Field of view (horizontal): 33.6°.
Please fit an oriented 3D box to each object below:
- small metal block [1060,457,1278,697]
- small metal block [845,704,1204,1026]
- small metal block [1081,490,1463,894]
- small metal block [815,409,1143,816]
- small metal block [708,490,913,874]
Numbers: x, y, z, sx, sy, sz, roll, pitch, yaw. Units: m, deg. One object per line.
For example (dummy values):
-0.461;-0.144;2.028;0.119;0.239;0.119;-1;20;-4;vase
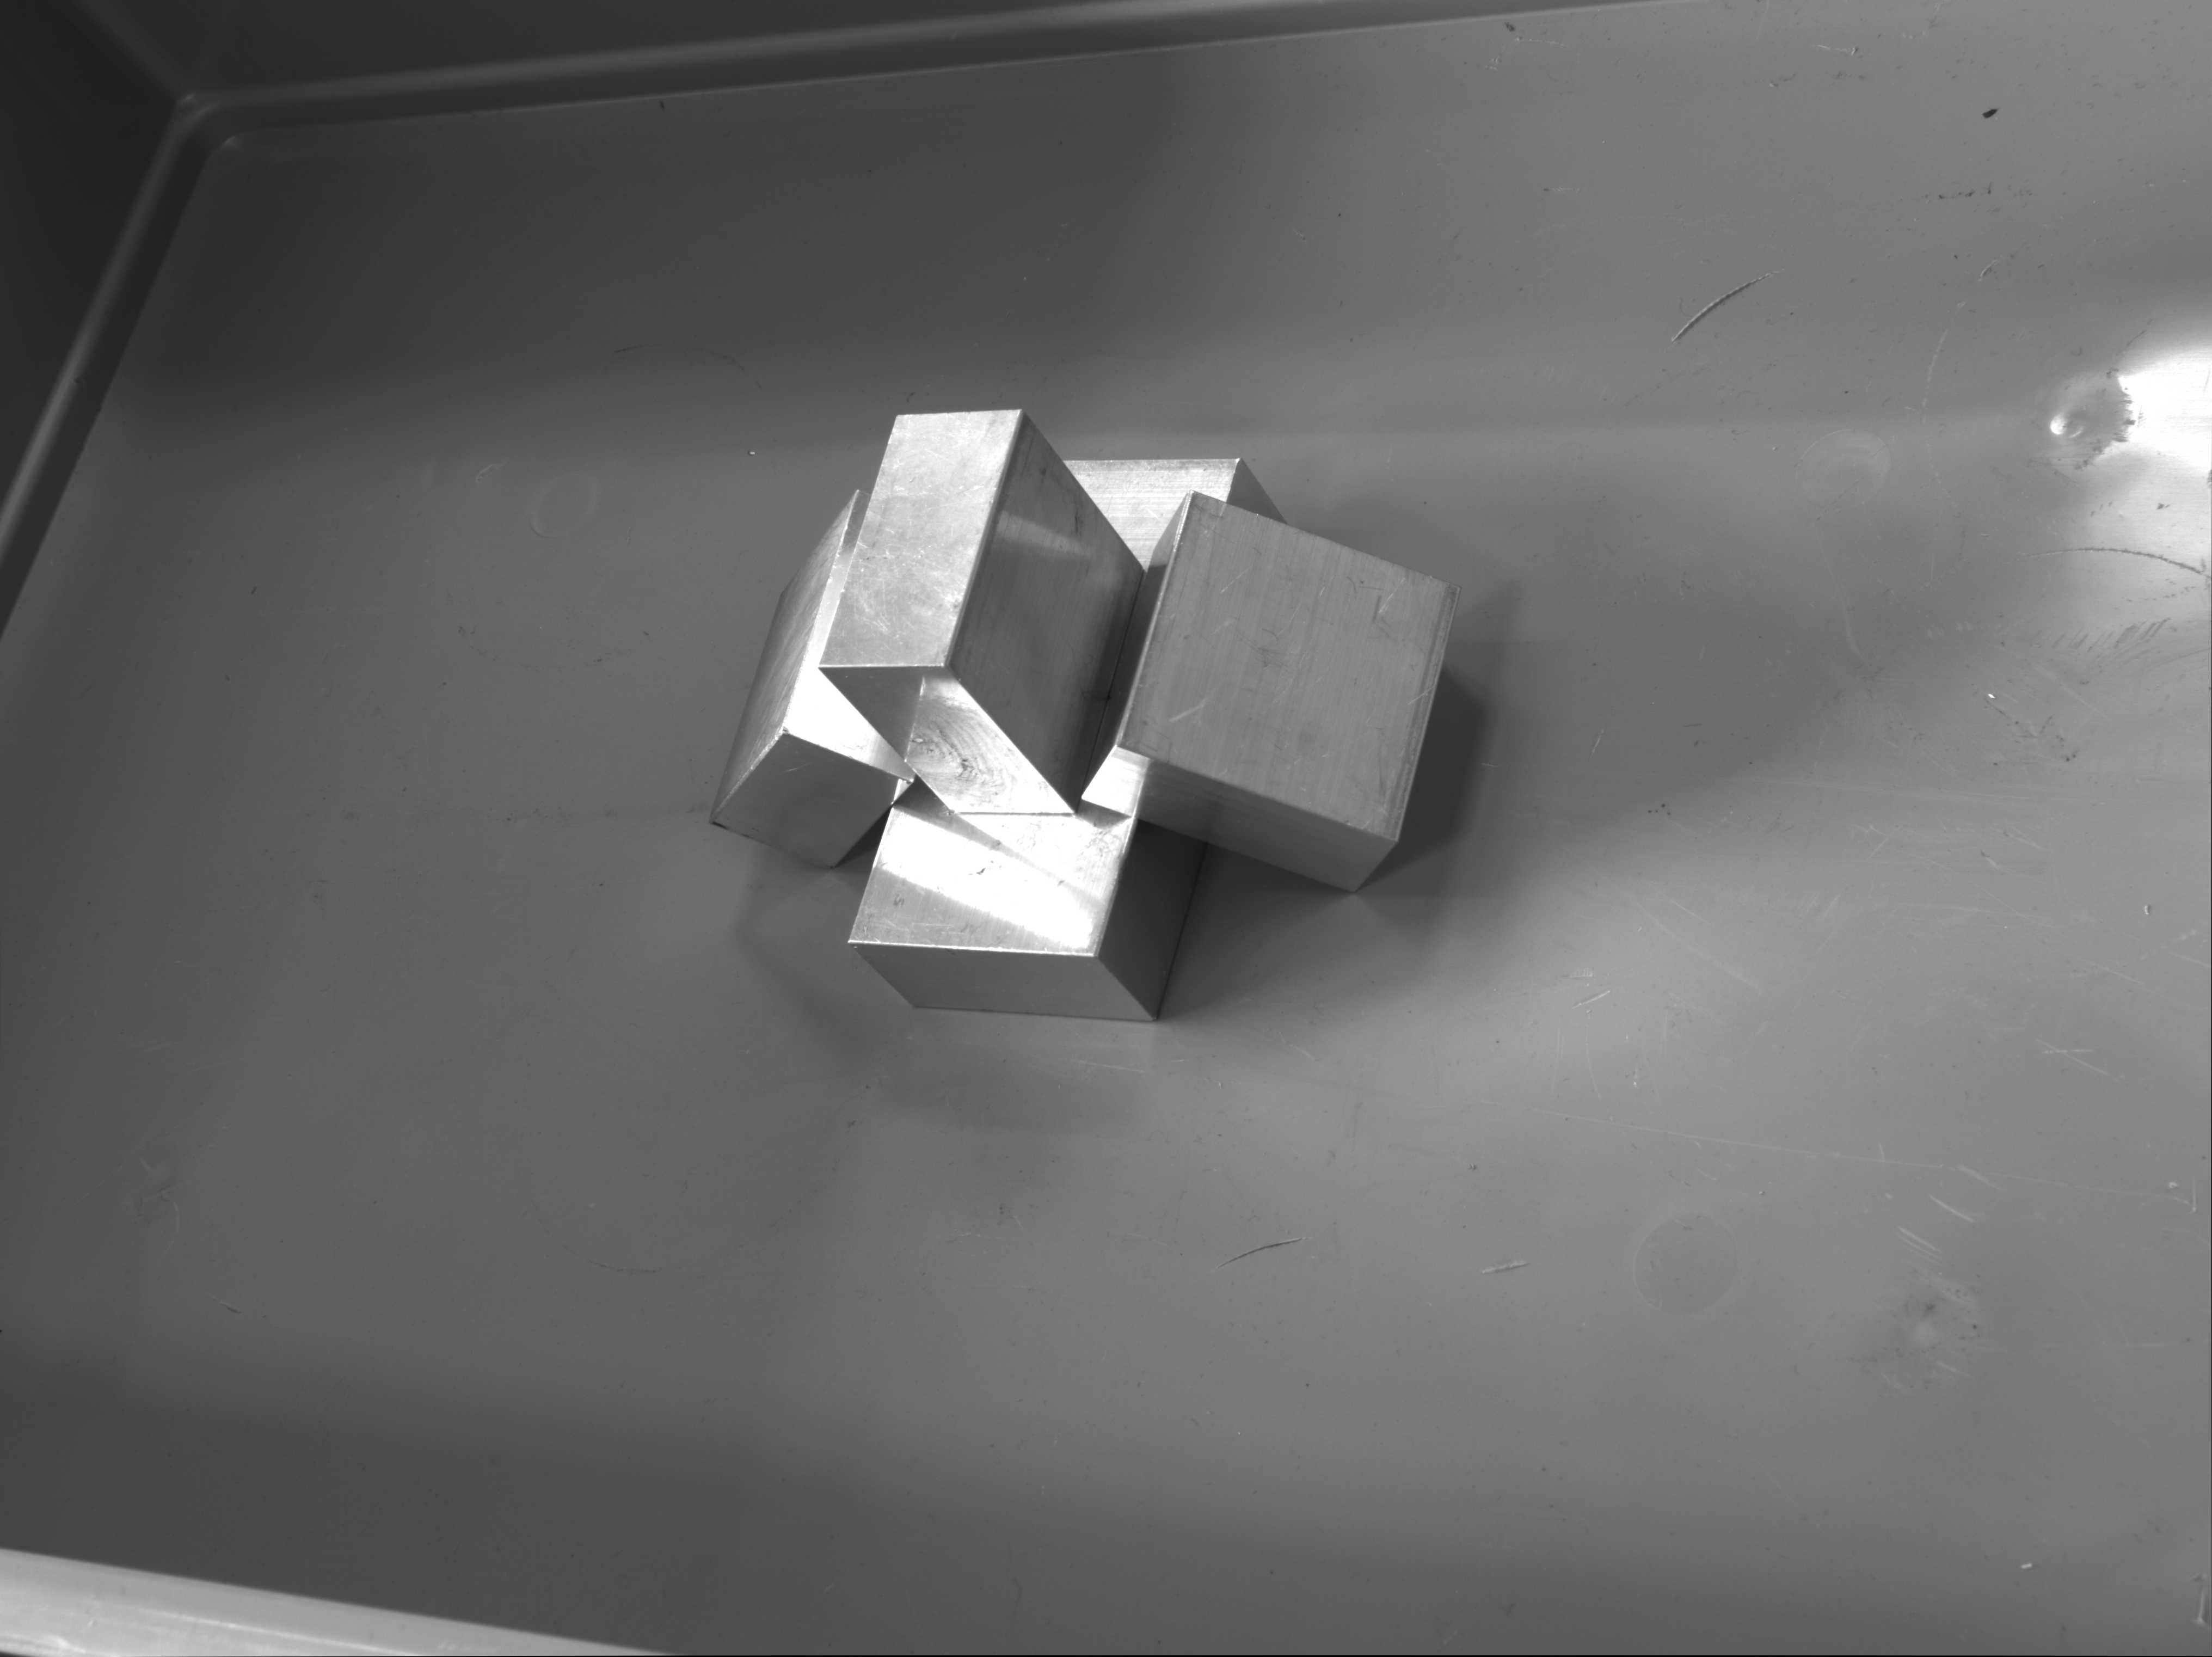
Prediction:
0.000;-0.039;0.666;0.050;0.025;0.050;3;63;29;small metal block
-0.012;0.005;0.646;0.050;0.025;0.050;2;63;30;small metal block
0.028;-0.023;0.626;0.050;0.025;0.050;19;66;-7;small metal block
-0.021;-0.036;0.627;0.025;0.050;0.050;1;62;28;small metal block
-0.048;-0.026;0.667;0.050;0.025;0.050;137;151;-62;small metal block
